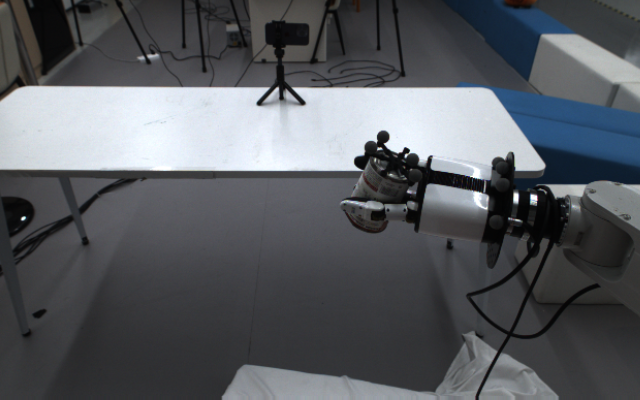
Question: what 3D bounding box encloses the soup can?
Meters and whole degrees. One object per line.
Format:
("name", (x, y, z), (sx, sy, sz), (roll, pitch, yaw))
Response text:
("soup can", (0.085, -0.011, 0.684), (0.067, 0.101, 0.067), (14, 39, -12))
